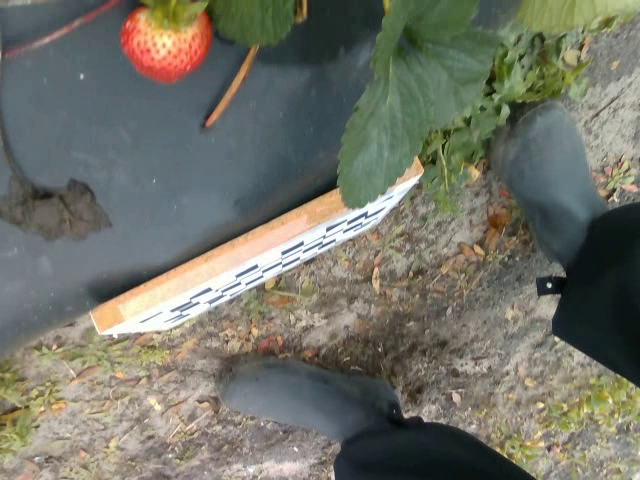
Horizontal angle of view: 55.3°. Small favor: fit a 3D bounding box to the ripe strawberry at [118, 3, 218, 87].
[{"bbox_3d":[-0.097,-0.117,0.379,0.061,0.050,0.065,-27,-12,-17],"label":"ripe strawberry"}]
